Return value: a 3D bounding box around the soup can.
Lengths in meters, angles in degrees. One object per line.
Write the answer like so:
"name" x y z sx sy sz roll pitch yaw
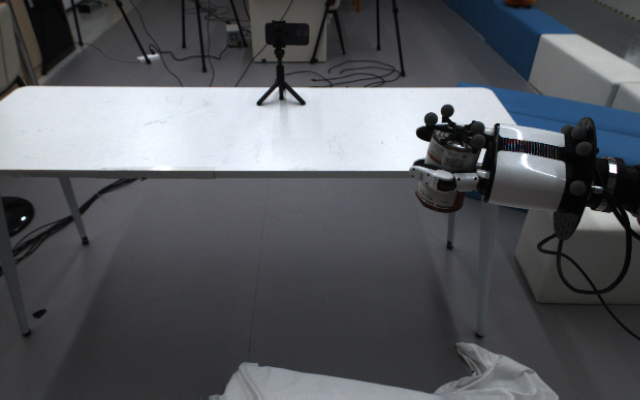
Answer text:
"soup can" 0.175 -0.043 0.659 0.067 0.101 0.067 5 37 -4
